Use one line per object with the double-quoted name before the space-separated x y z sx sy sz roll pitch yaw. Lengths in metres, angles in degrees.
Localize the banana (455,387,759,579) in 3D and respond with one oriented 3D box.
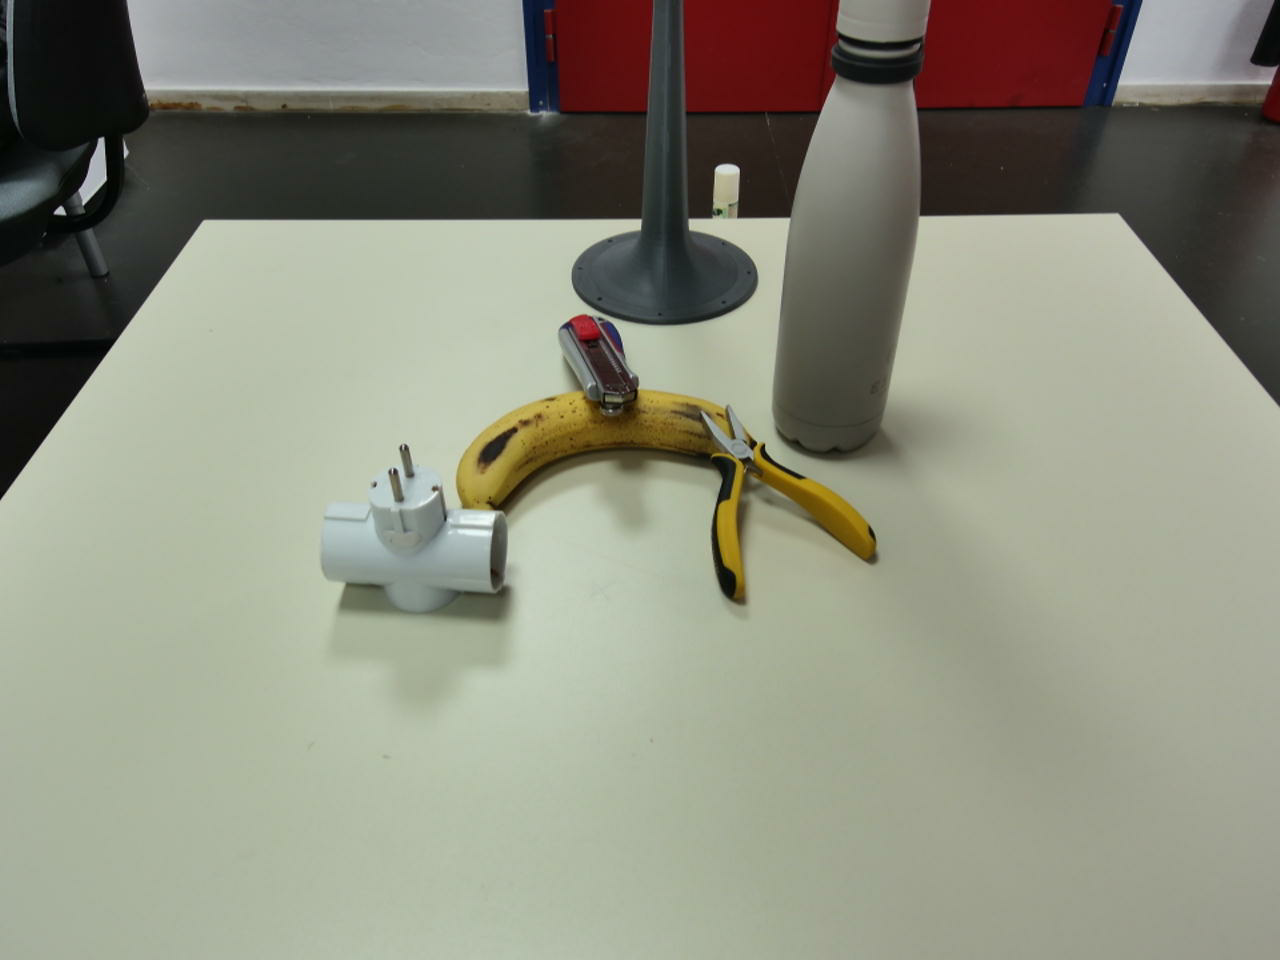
"banana" -0.030 -0.018 0.605 0.186 0.038 0.097 -19 43 -21
